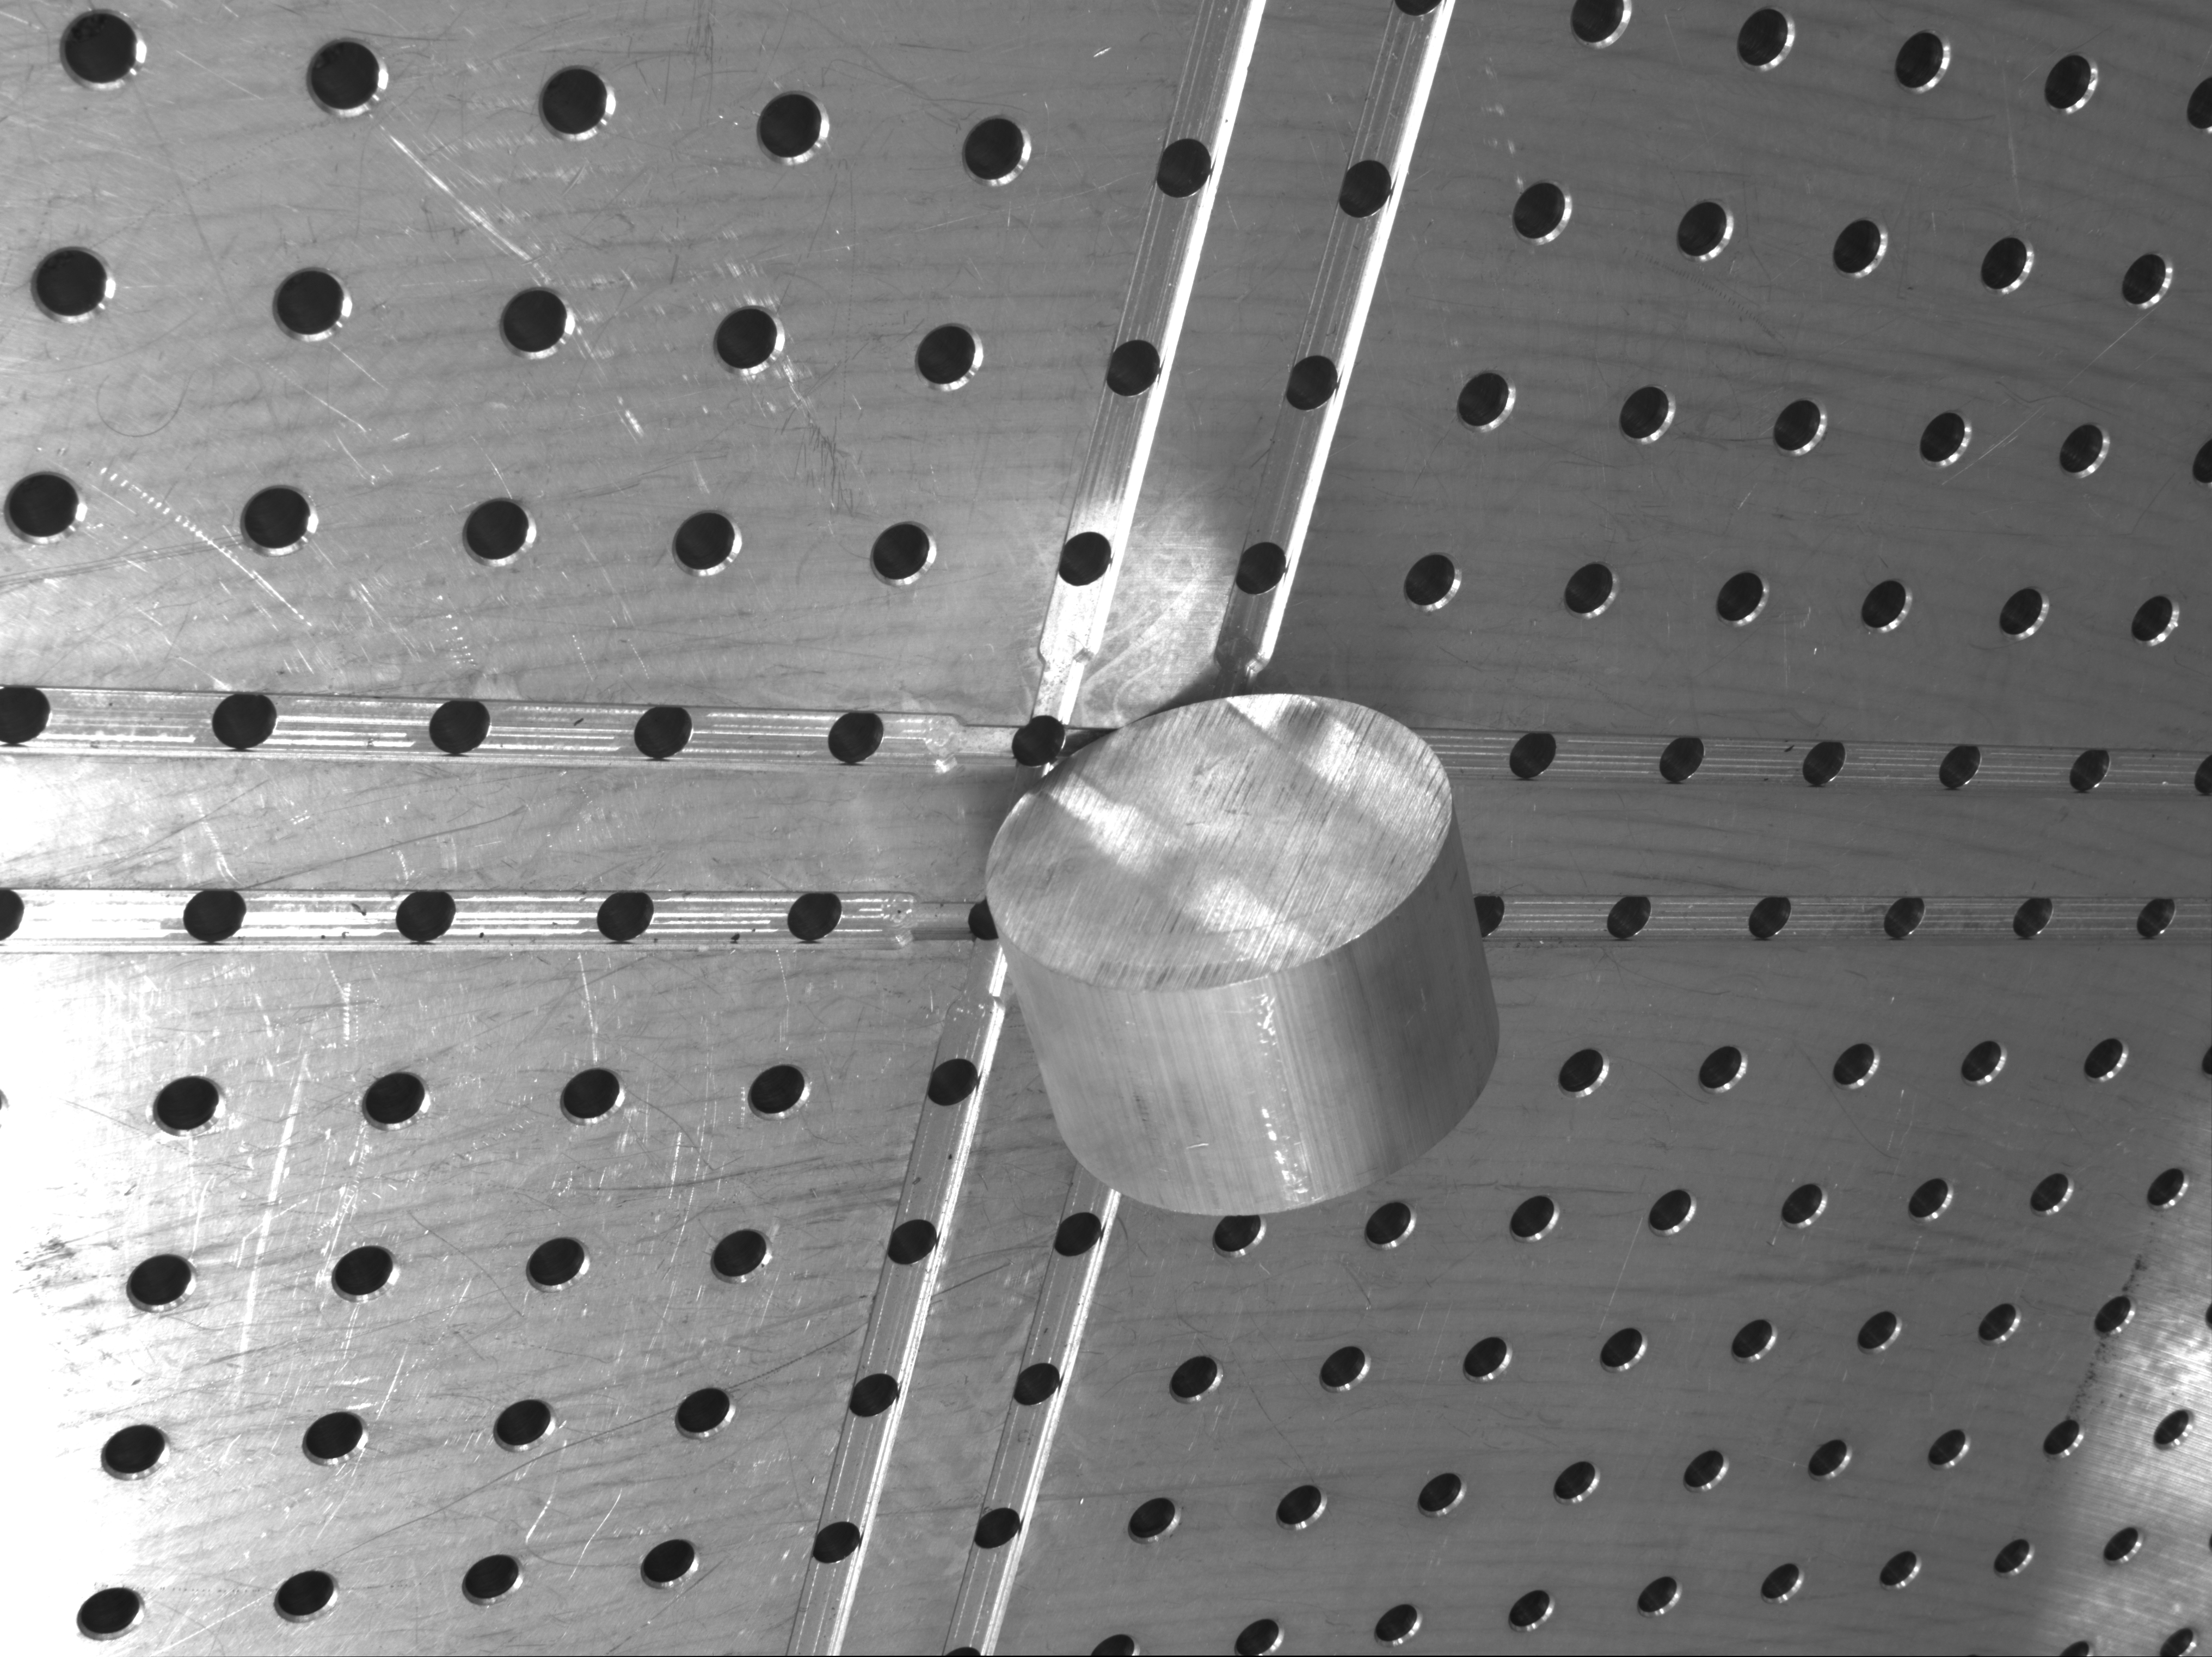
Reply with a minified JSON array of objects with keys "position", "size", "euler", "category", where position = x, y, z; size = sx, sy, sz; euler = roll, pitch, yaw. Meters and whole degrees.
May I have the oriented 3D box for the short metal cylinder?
[{"position":[0.024,0.021,0.630],"size":[0.080,0.080,0.050],"euler":[-25,126,-13],"category":"short metal cylinder"}]
